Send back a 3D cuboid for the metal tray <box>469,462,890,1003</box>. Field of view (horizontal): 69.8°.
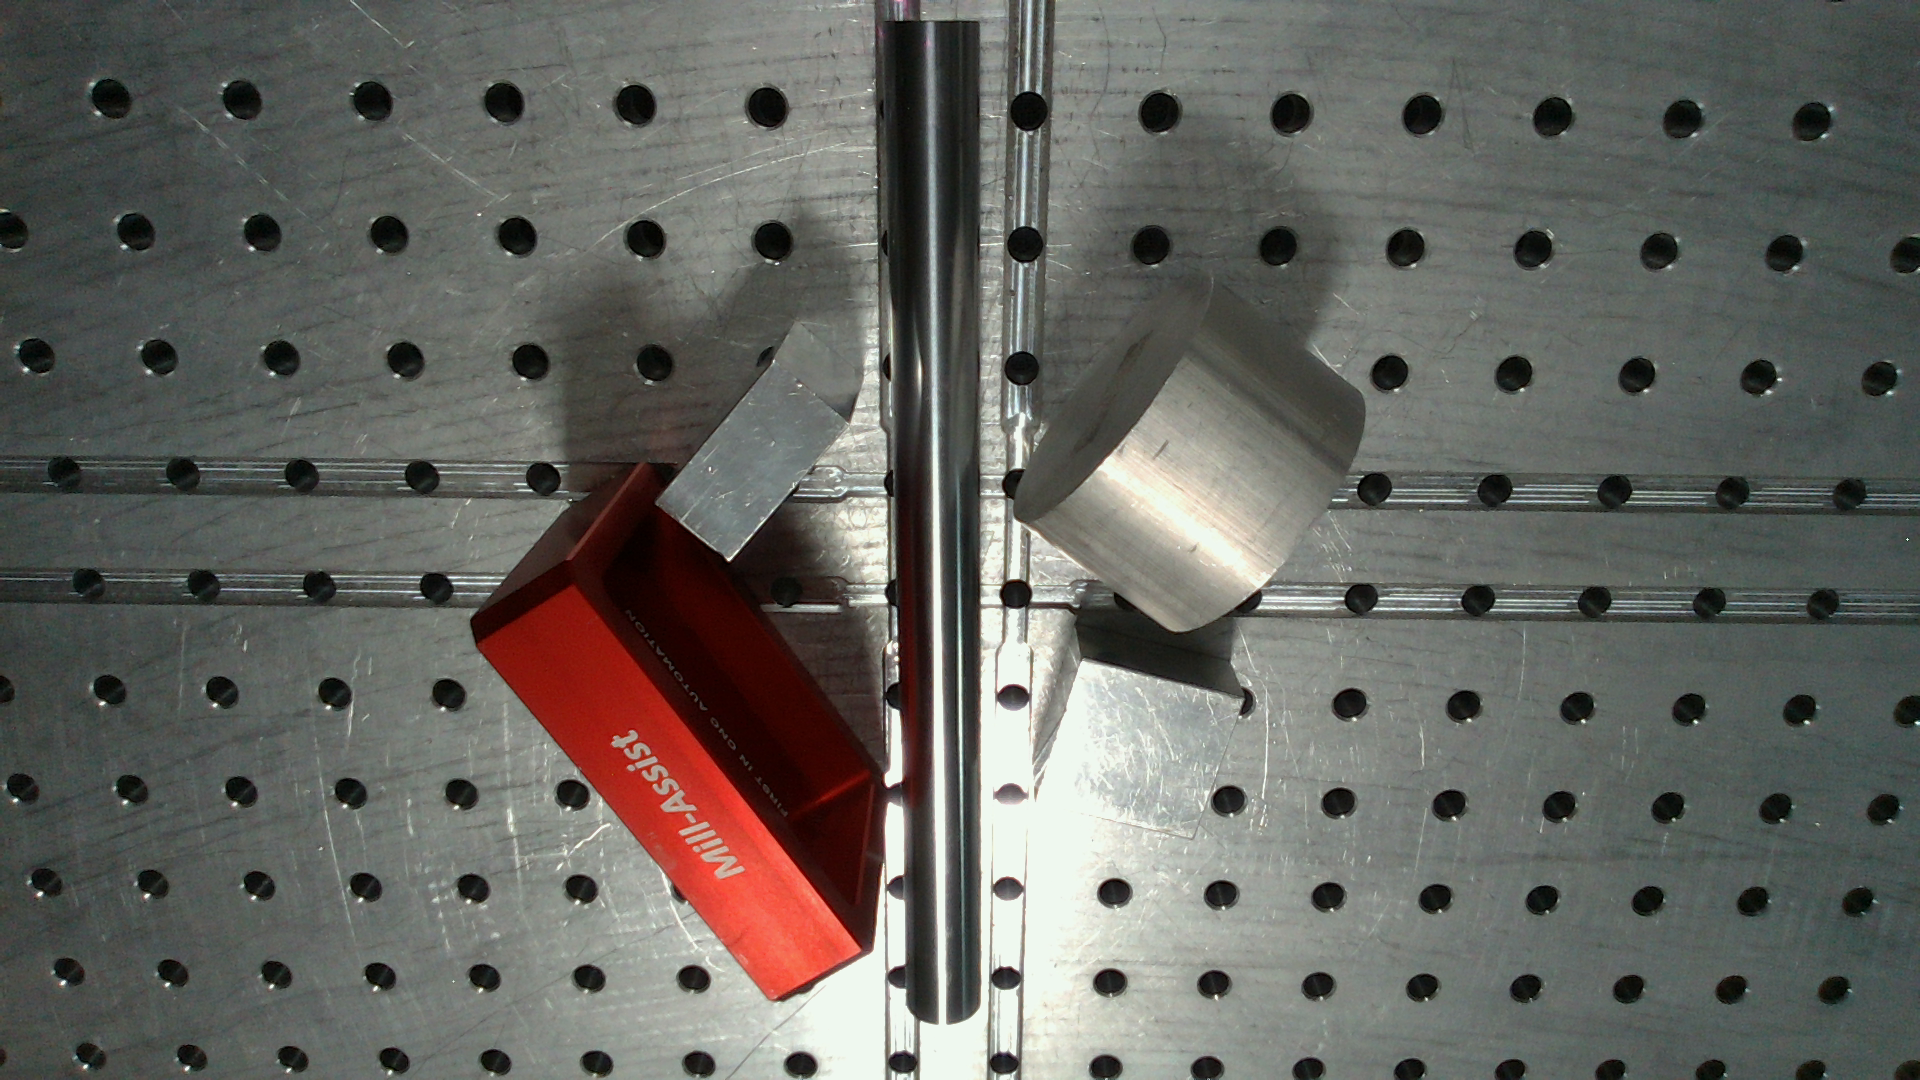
[{"bbox_3d":[-0.069,0.050,0.379,0.030,0.090,0.130,-31,107,11],"label":"metal tray"}]

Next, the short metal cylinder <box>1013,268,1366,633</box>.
[{"bbox_3d":[0.058,-0.023,0.359,0.050,0.080,0.080,36,106,-12],"label":"short metal cylinder"}]

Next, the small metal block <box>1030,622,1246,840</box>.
[{"bbox_3d":[0.053,0.058,0.419,0.050,0.025,0.050,14,110,-5],"label":"small metal block"}]

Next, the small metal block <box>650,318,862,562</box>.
[{"bbox_3d":[-0.053,-0.028,0.372,0.025,0.050,0.050,39,106,-13],"label":"small metal block"}]

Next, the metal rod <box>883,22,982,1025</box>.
[{"bbox_3d":[-0.006,0.010,0.399,0.025,0.025,0.300,0,110,0],"label":"metal rod"}]
